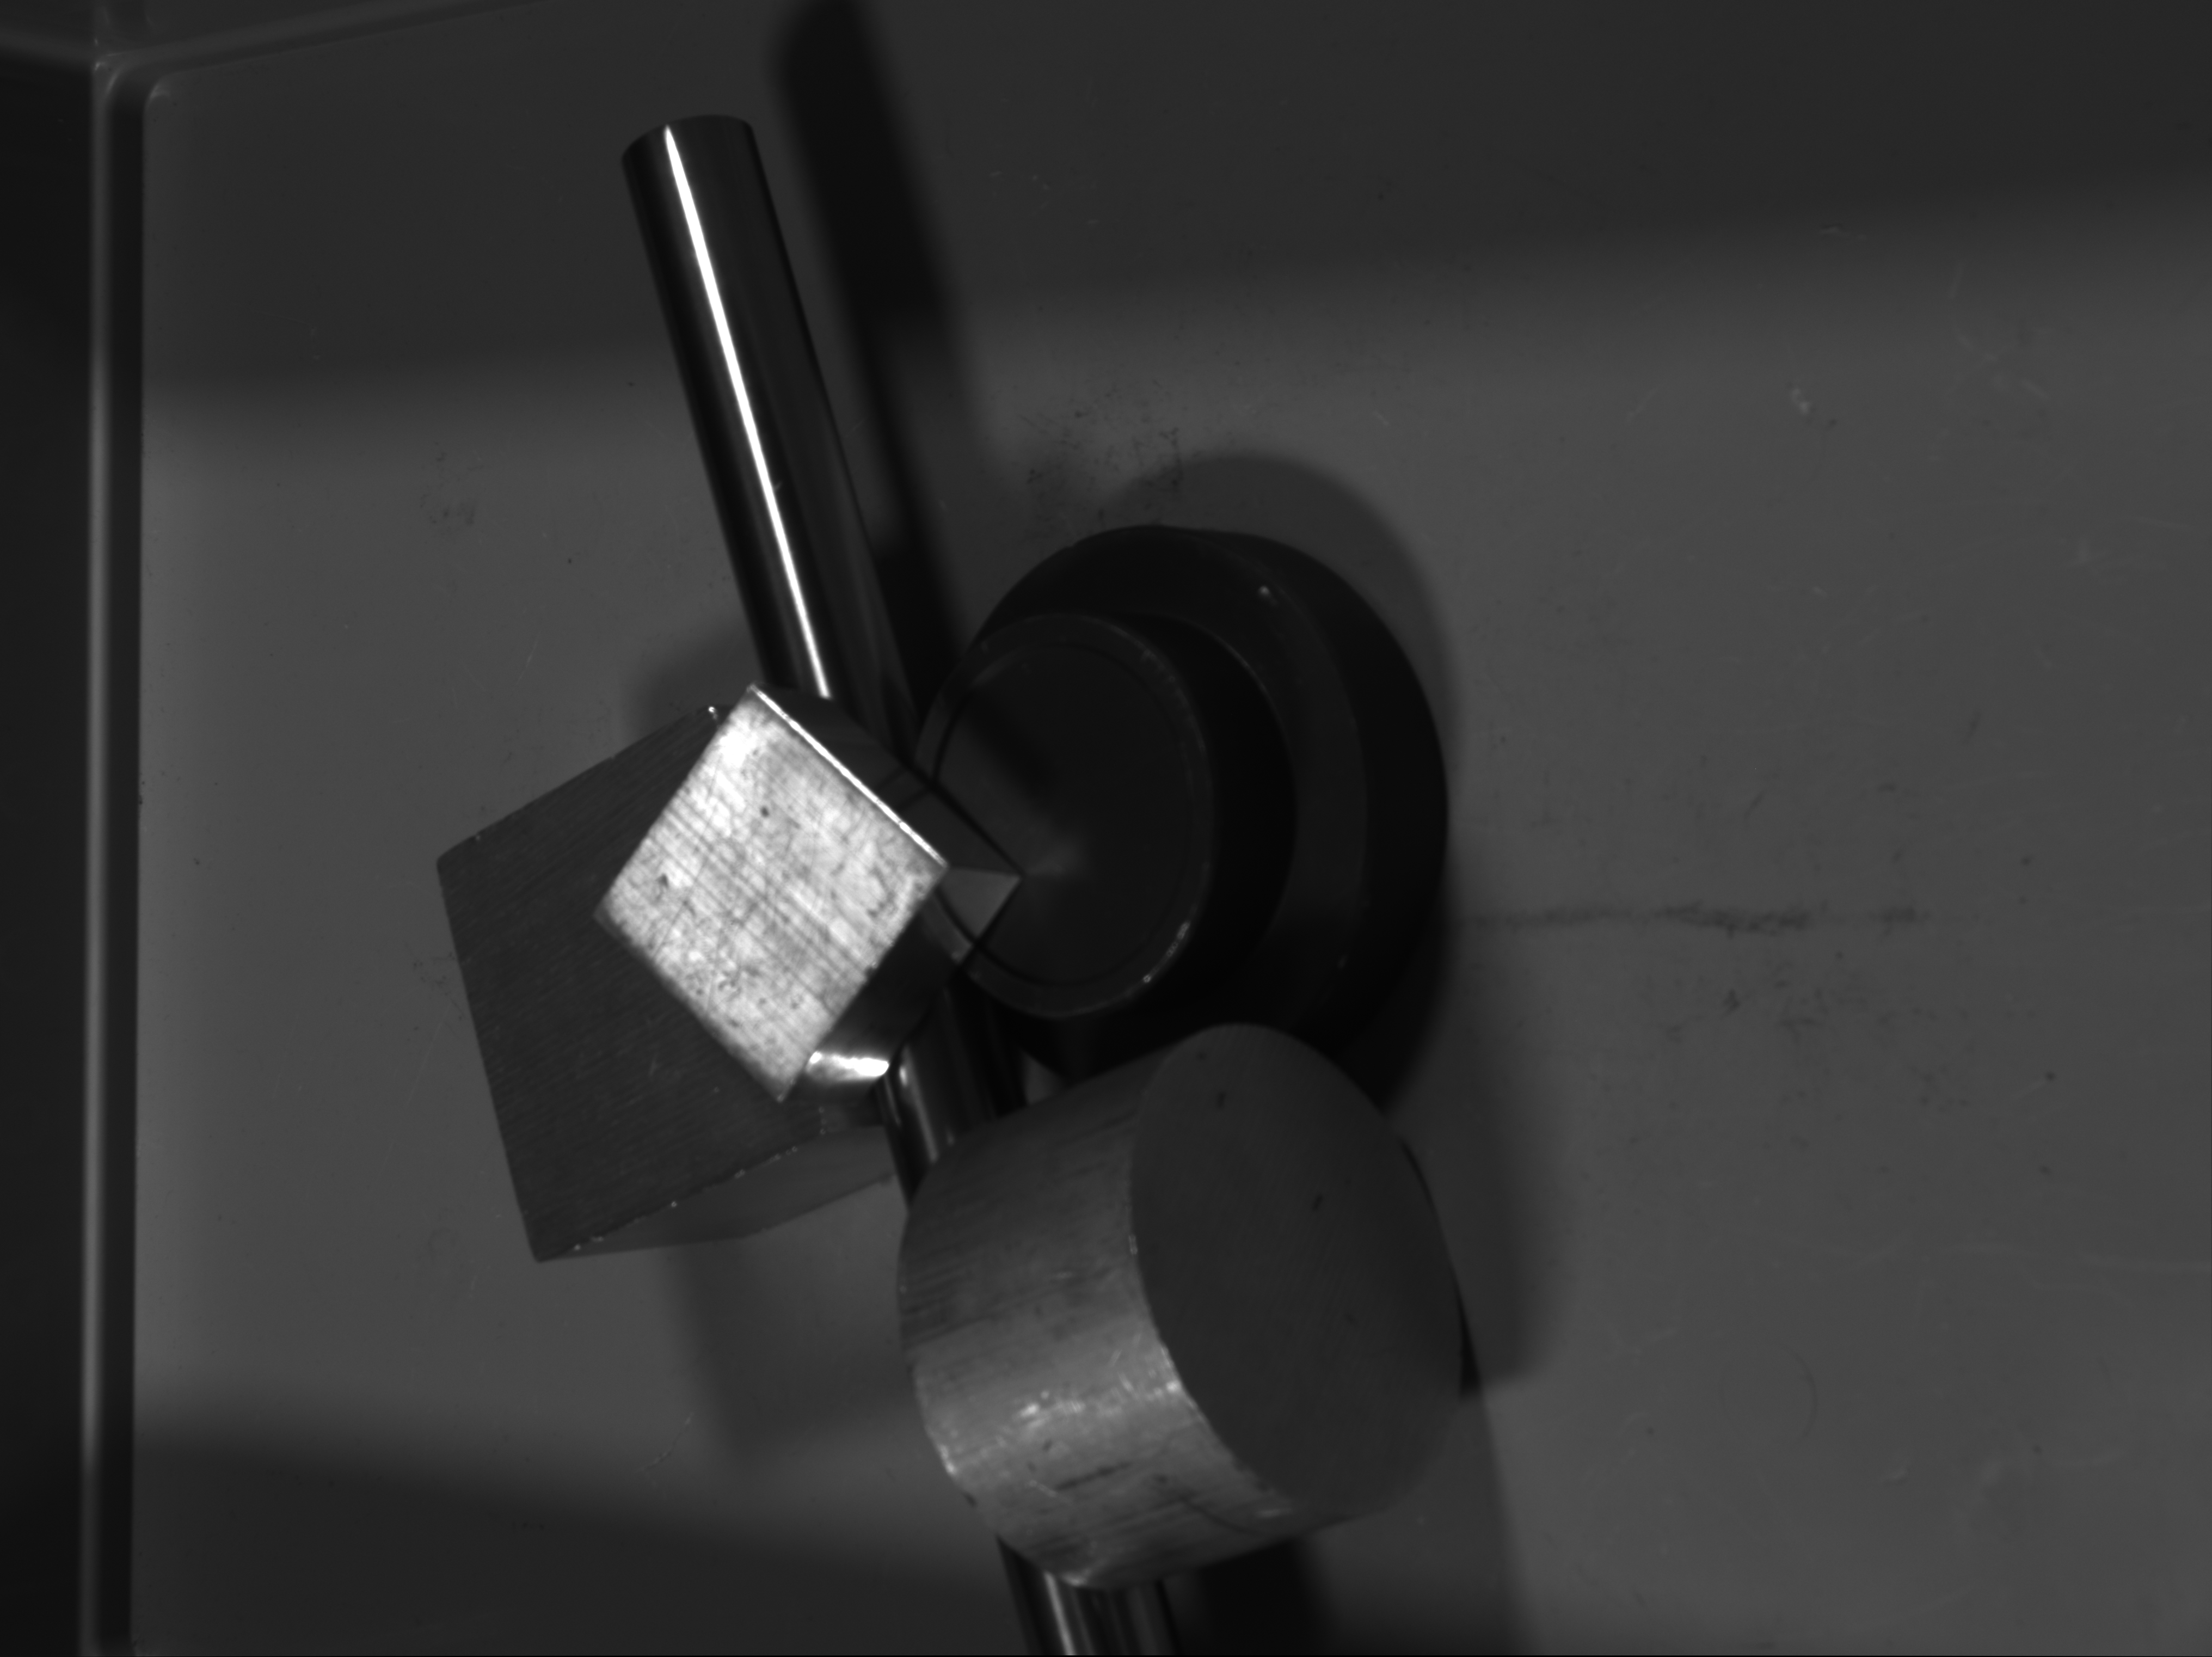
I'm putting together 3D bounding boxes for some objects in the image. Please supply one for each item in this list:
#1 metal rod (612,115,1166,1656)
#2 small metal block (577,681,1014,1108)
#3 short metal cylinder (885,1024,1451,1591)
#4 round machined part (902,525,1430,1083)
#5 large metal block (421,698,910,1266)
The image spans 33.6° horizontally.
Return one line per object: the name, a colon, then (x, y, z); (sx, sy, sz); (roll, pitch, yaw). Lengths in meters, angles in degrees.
metal rod: (-0.038, 0.015, 0.639); (0.025, 0.025, 0.300); (-26, 74, 36)
small metal block: (-0.052, 0.011, 0.615); (0.050, 0.025, 0.050); (42, 104, 24)
short metal cylinder: (0.011, 0.078, 0.590); (0.050, 0.080, 0.080); (-26, 74, 36)
round machined part: (0.003, -0.002, 0.621); (0.098, 0.042, 0.098); (0, 90, 39)
large metal block: (-0.073, 0.029, 0.676); (0.080, 0.050, 0.080); (-26, 74, 36)
